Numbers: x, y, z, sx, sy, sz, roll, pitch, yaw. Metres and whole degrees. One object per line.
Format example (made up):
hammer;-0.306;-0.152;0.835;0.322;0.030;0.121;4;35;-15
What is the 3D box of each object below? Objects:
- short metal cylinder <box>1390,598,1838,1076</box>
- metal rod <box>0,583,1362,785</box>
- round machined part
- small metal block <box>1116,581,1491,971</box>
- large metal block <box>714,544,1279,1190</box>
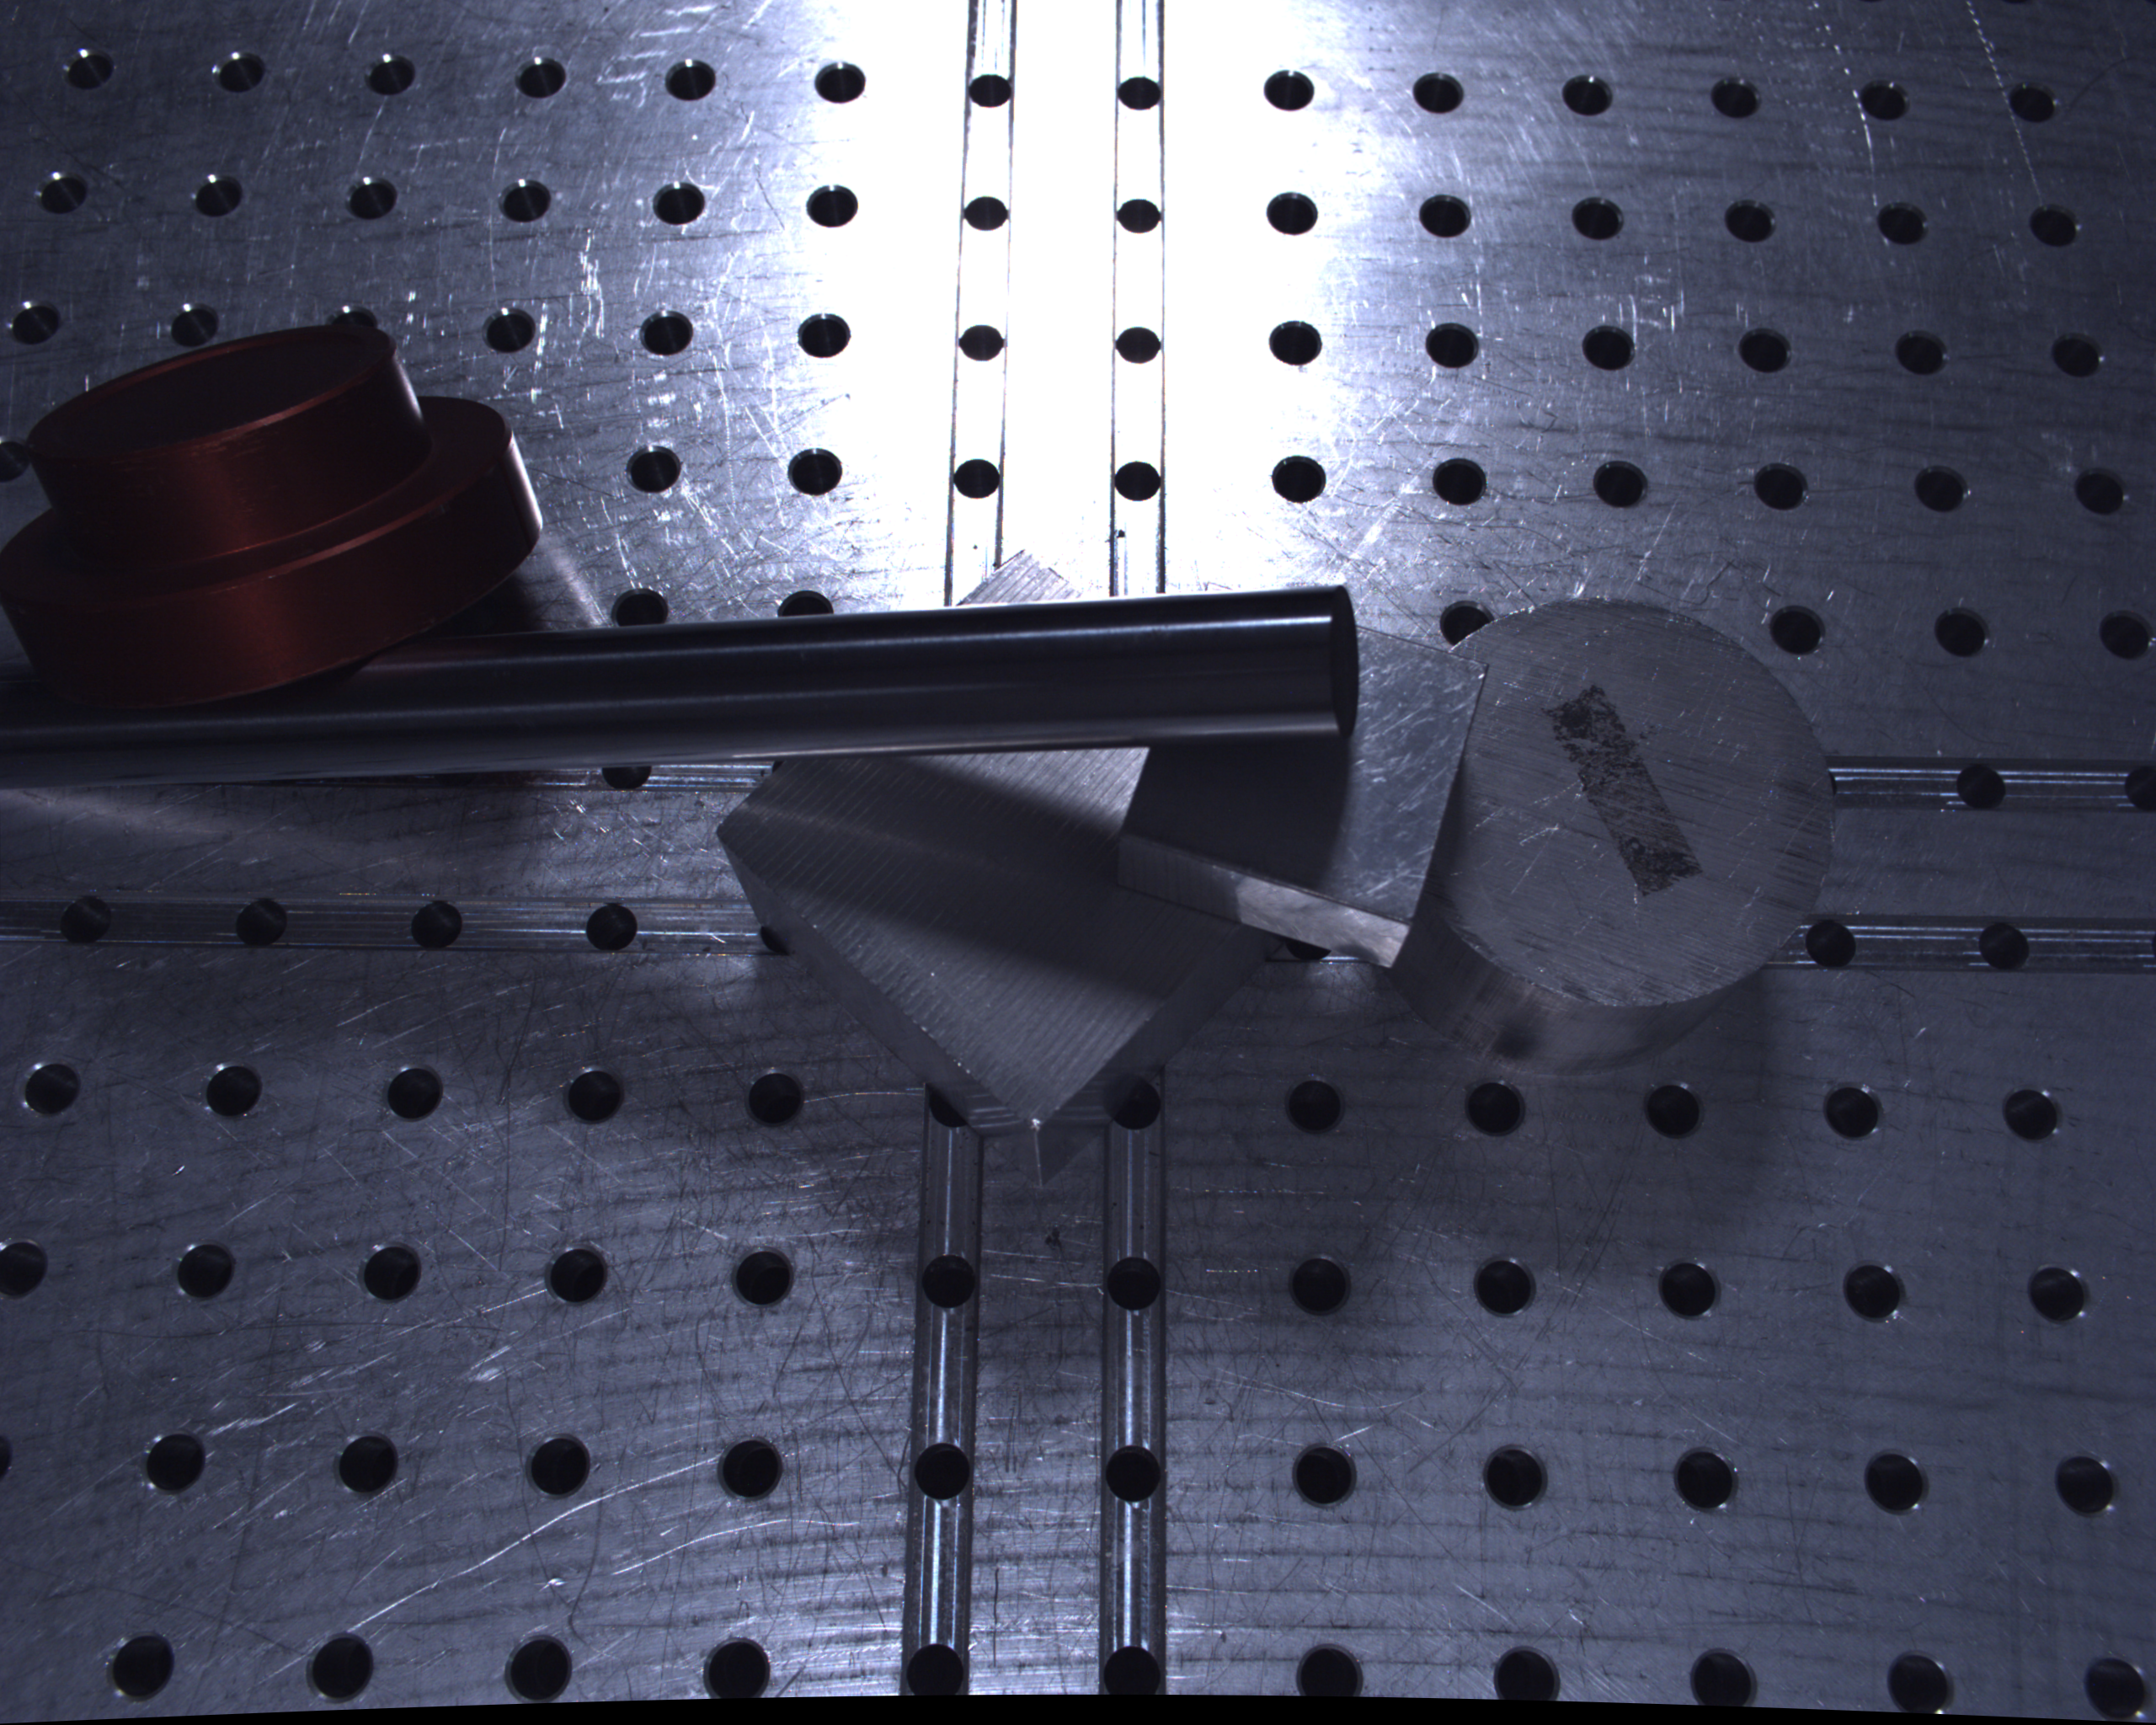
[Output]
short metal cylinder;0.097;-0.004;0.401;0.081;0.050;0.080;0;70;0
metal rod;-0.101;-0.029;0.375;0.301;0.025;0.025;-1;69;17
round machined part;-0.157;-0.072;0.398;0.099;0.042;0.098;-9;31;6
small metal block;0.039;-0.015;0.362;0.050;0.025;0.050;18;71;6
large metal block;-0.008;0.001;0.395;0.080;0.050;0.080;42;75;13
